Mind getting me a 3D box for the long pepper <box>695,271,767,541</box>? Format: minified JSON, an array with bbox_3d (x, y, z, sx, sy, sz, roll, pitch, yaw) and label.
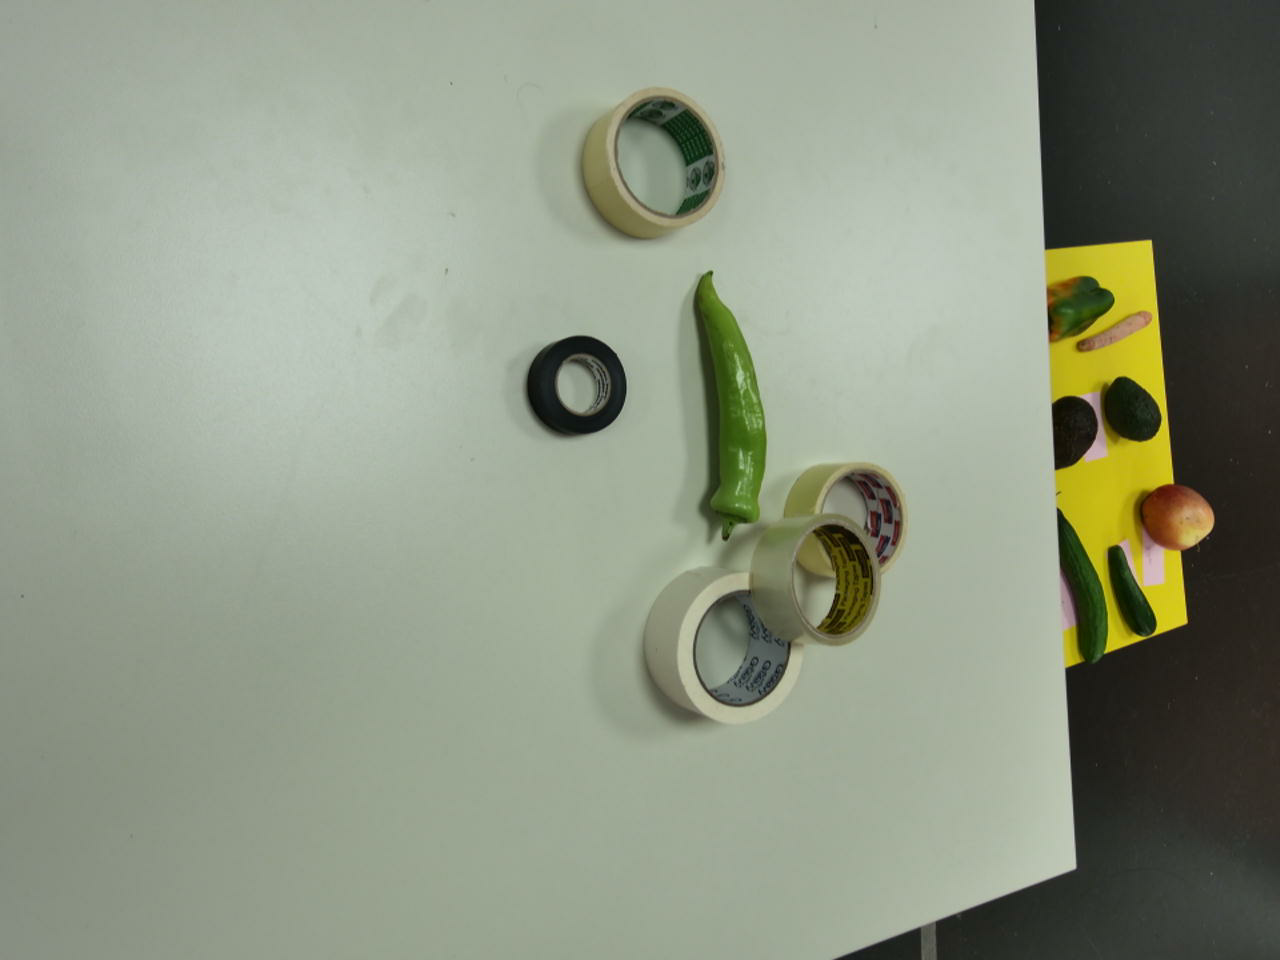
[{"bbox_3d":[0.069,-0.055,0.723,0.046,0.038,0.197,-3,92,-28],"label":"long pepper"}]
